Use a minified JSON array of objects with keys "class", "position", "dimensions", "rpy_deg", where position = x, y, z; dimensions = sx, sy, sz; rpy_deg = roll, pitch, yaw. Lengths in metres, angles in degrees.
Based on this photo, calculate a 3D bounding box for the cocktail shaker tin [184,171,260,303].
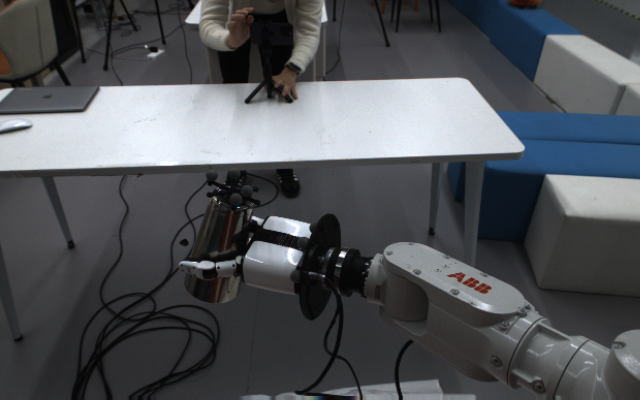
[{"class":"cocktail shaker tin","position":[-0.152,0.064,0.757],"dimensions":[0.093,0.170,0.093],"rpy_deg":[15,27,-8]}]
